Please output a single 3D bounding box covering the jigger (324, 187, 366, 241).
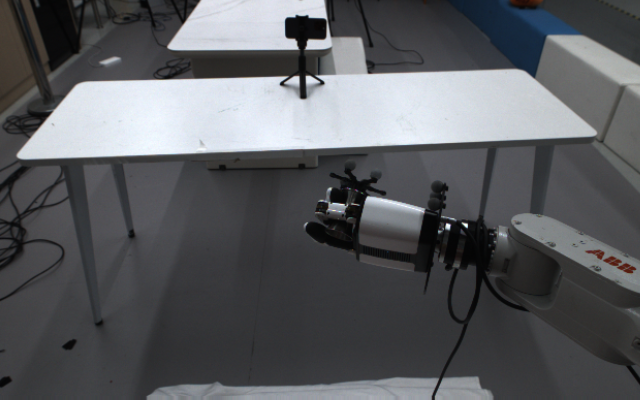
[{"bbox_3d":[0.040,0.019,0.708,0.043,0.043,0.071,15,71,18],"label":"jigger"}]
